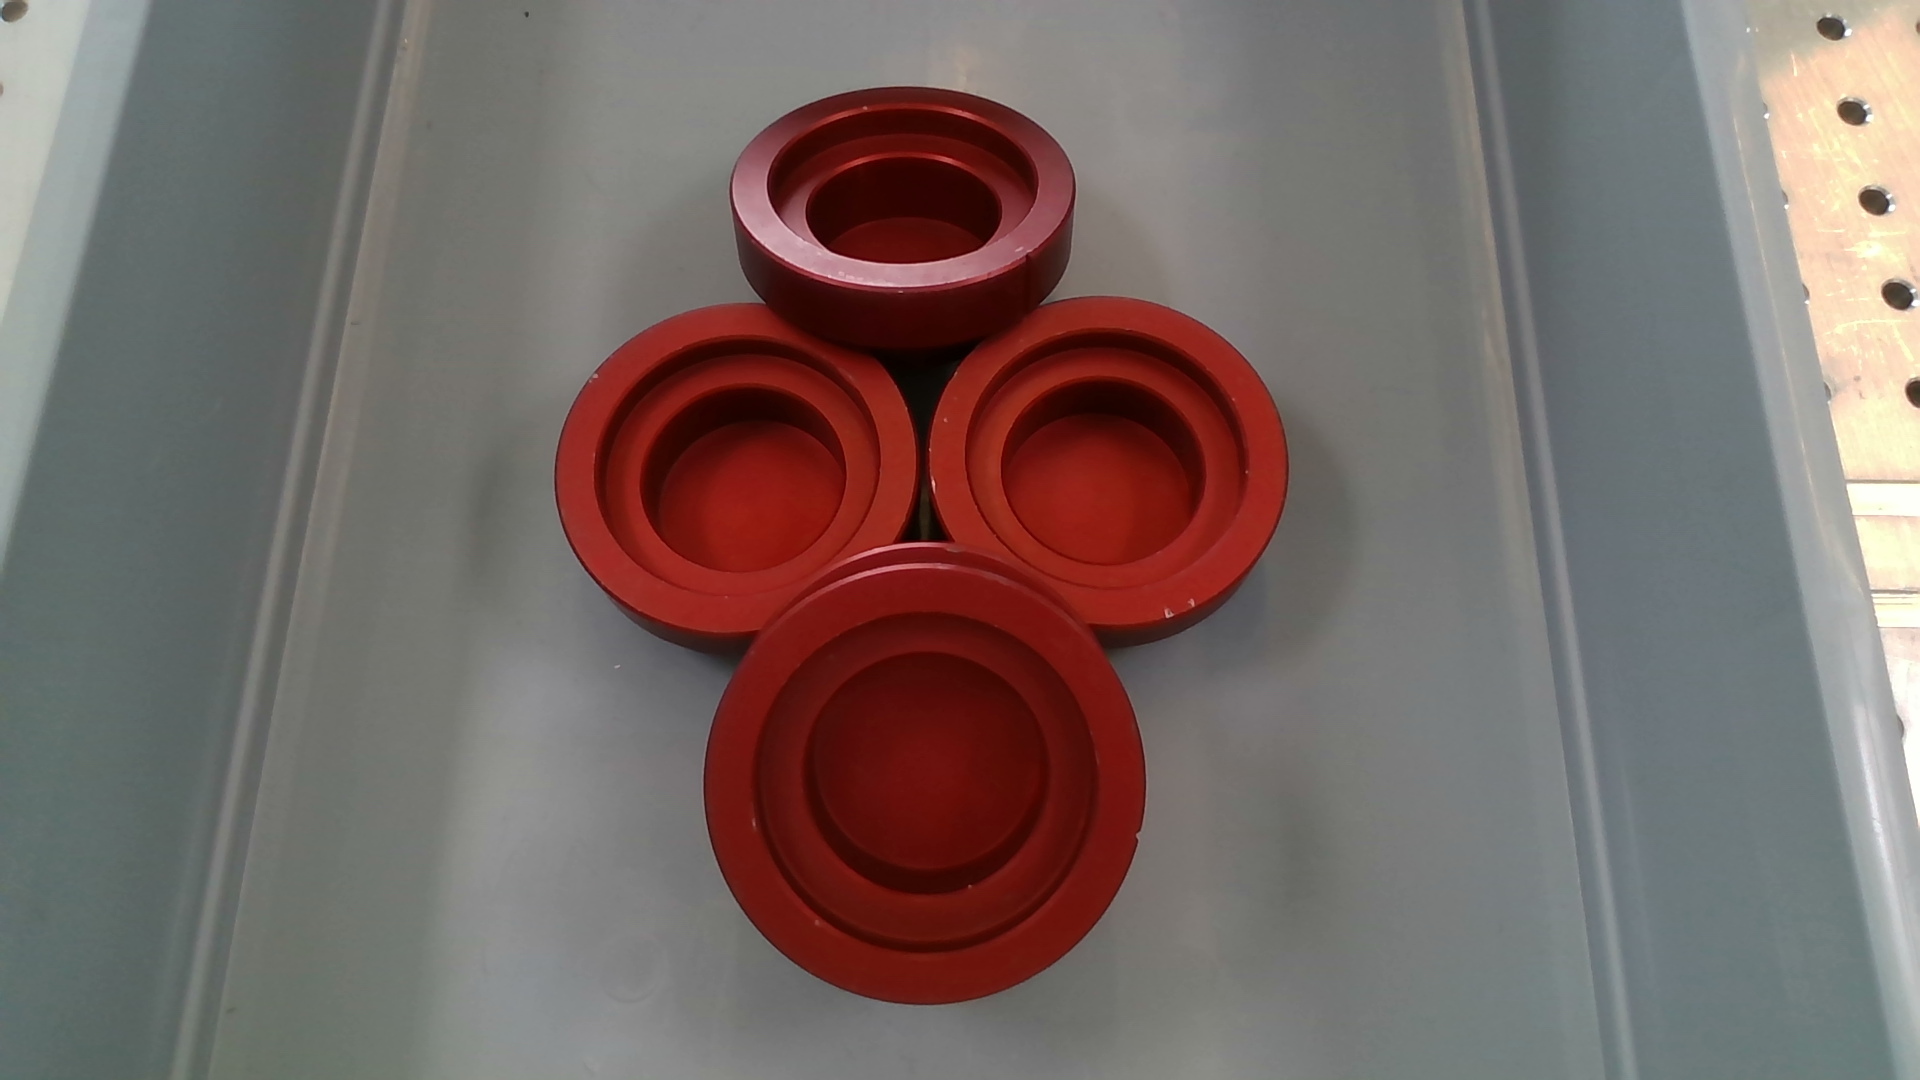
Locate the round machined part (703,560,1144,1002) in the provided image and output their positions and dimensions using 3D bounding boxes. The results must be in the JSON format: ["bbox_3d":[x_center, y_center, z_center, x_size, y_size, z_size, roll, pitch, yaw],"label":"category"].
[{"bbox_3d":[-0.008,0.054,0.325,0.098,0.042,0.098,0,92,0],"label":"round machined part"}]

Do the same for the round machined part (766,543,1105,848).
[{"bbox_3d":[-0.009,0.049,0.357,0.098,0.042,0.098,0,93,-1],"label":"round machined part"}]

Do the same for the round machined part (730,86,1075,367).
[{"bbox_3d":[-0.016,-0.089,0.406,0.098,0.042,0.098,0,49,0],"label":"round machined part"}]

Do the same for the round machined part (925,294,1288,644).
[{"bbox_3d":[0.040,-0.017,0.391,0.098,0.042,0.098,0,70,0],"label":"round machined part"}]

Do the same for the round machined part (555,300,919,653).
[{"bbox_3d":[-0.060,-0.015,0.390,0.098,0.042,0.098,0,70,0],"label":"round machined part"}]
